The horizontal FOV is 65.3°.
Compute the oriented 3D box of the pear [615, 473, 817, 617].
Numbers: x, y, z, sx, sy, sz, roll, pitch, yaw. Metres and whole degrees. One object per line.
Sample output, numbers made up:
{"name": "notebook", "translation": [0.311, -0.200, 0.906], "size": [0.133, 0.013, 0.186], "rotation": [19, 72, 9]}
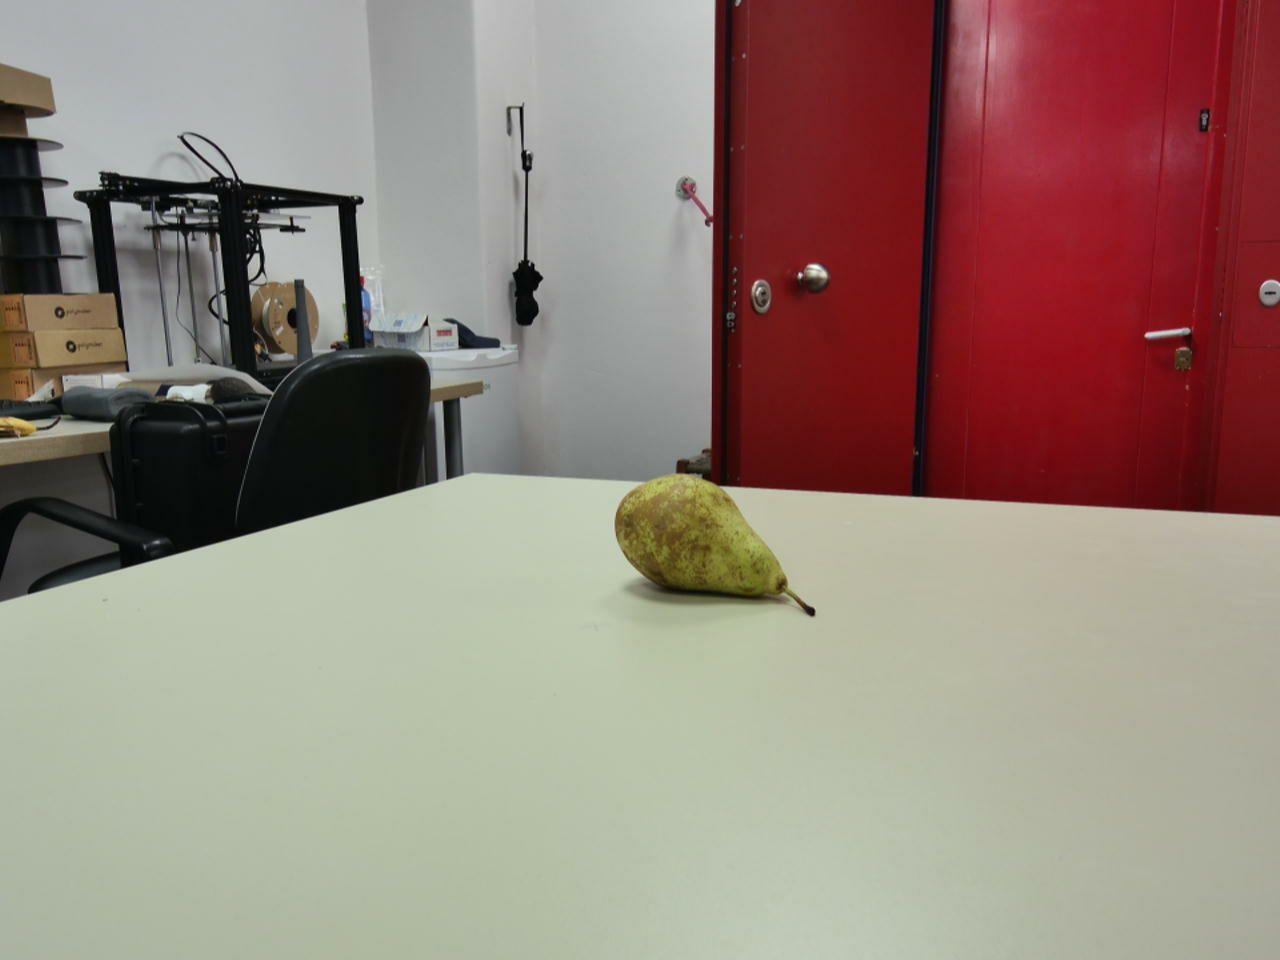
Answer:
{"name": "pear", "translation": [0.047, 0.035, 0.614], "size": [0.128, 0.075, 0.071], "rotation": [1, 7, 15]}
